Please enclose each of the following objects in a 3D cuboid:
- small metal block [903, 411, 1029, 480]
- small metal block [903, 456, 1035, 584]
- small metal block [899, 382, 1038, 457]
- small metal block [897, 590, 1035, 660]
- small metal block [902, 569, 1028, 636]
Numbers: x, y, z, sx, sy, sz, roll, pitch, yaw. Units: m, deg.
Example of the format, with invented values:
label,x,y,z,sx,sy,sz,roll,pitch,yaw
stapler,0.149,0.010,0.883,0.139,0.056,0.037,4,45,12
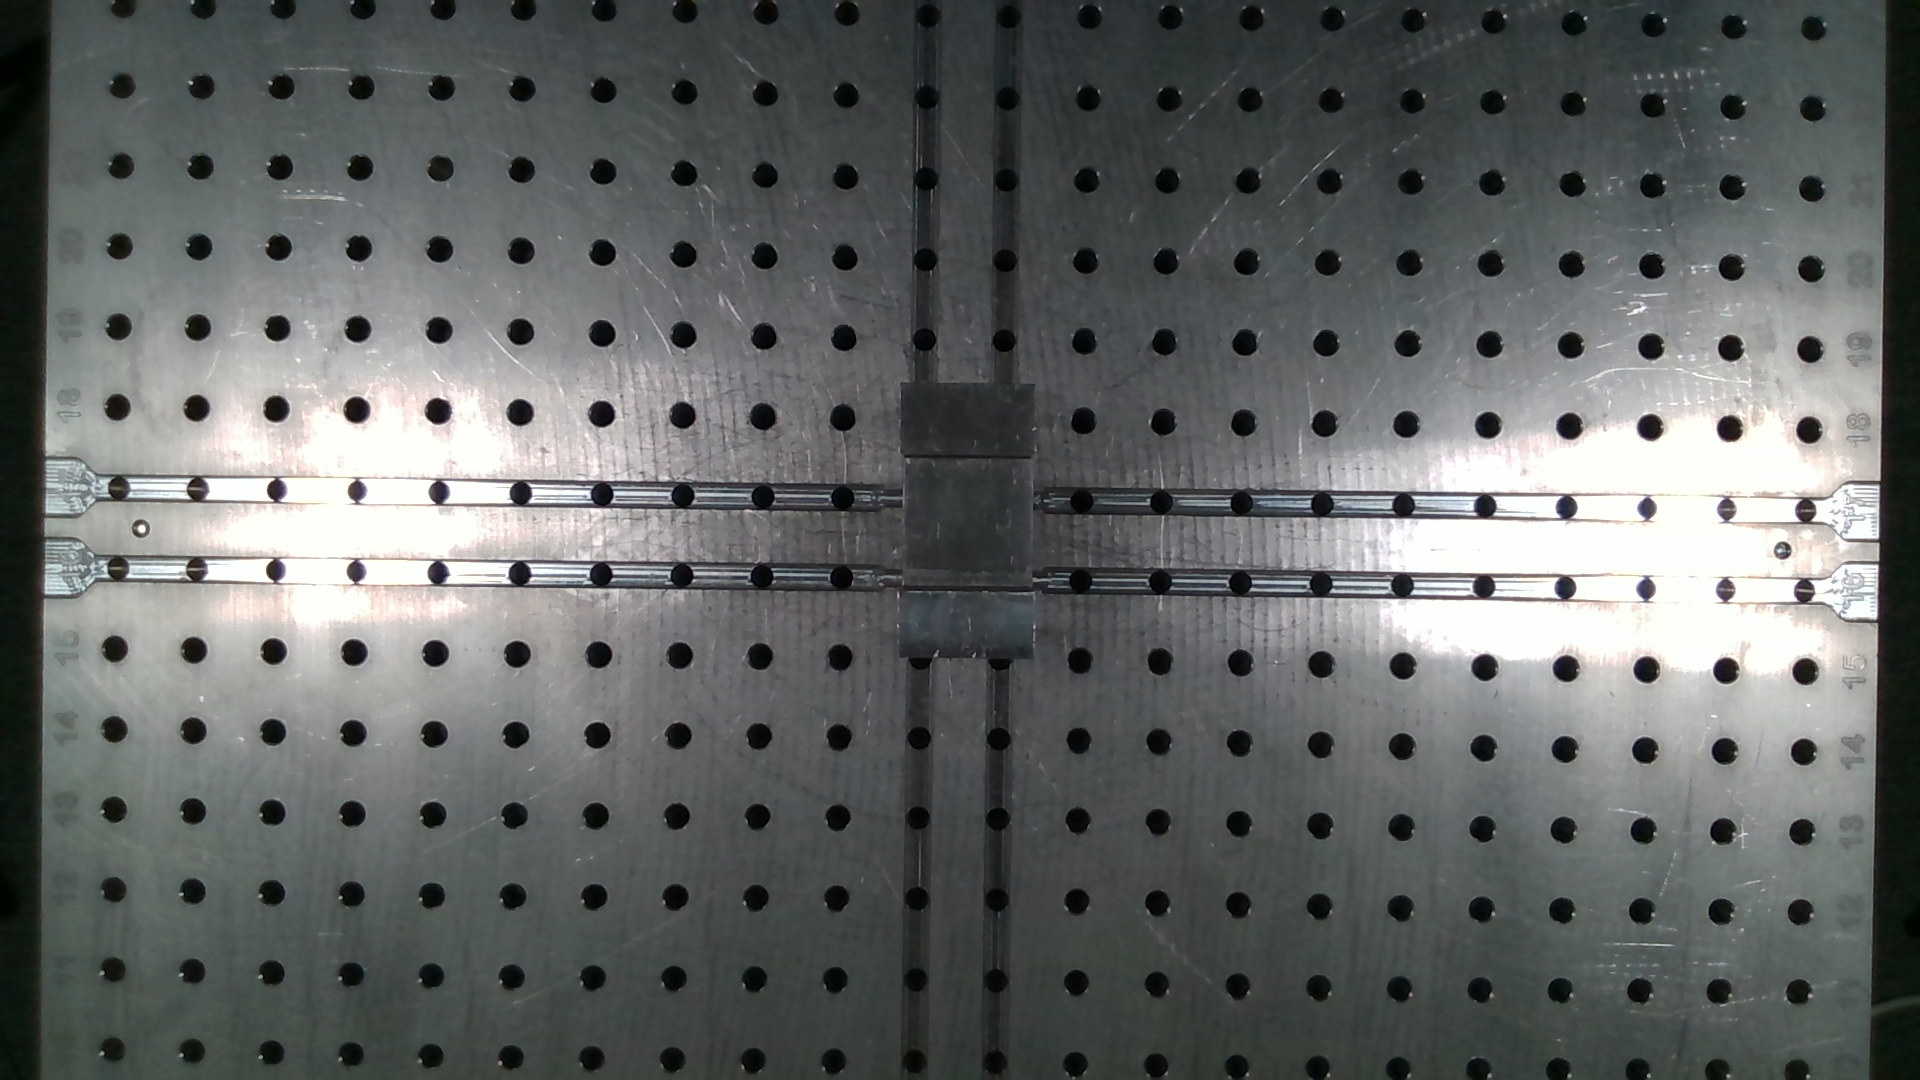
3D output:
label,x,y,z,sx,sy,sz,roll,pitch,yaw
small metal block,0.002,-0.039,0.576,0.050,0.050,0.025,1,90,0
small metal block,0.003,-0.007,0.540,0.050,0.025,0.050,1,90,0
small metal block,0.003,-0.044,0.526,0.050,0.050,0.025,1,90,-1
small metal block,0.002,0.031,0.526,0.050,0.050,0.025,1,90,-1
small metal block,0.002,0.026,0.577,0.050,0.050,0.025,-1,90,0
